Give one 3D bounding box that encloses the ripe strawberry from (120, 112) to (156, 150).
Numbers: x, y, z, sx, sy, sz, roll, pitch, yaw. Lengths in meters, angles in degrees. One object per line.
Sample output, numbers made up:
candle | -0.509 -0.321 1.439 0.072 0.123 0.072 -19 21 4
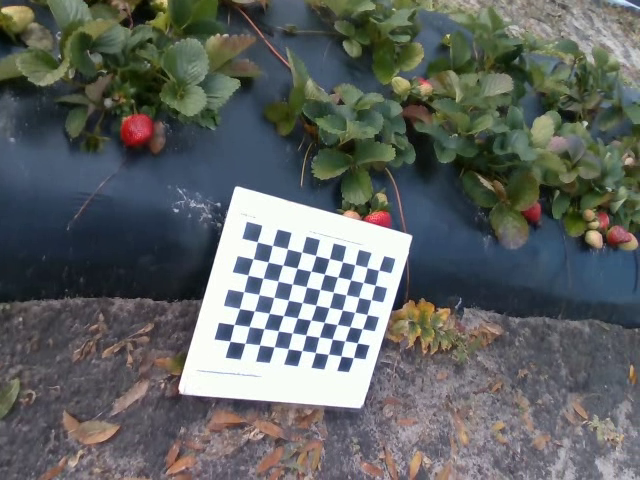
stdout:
ripe strawberry | -0.250 -0.144 0.778 0.050 0.049 0.053 6 26 -31
